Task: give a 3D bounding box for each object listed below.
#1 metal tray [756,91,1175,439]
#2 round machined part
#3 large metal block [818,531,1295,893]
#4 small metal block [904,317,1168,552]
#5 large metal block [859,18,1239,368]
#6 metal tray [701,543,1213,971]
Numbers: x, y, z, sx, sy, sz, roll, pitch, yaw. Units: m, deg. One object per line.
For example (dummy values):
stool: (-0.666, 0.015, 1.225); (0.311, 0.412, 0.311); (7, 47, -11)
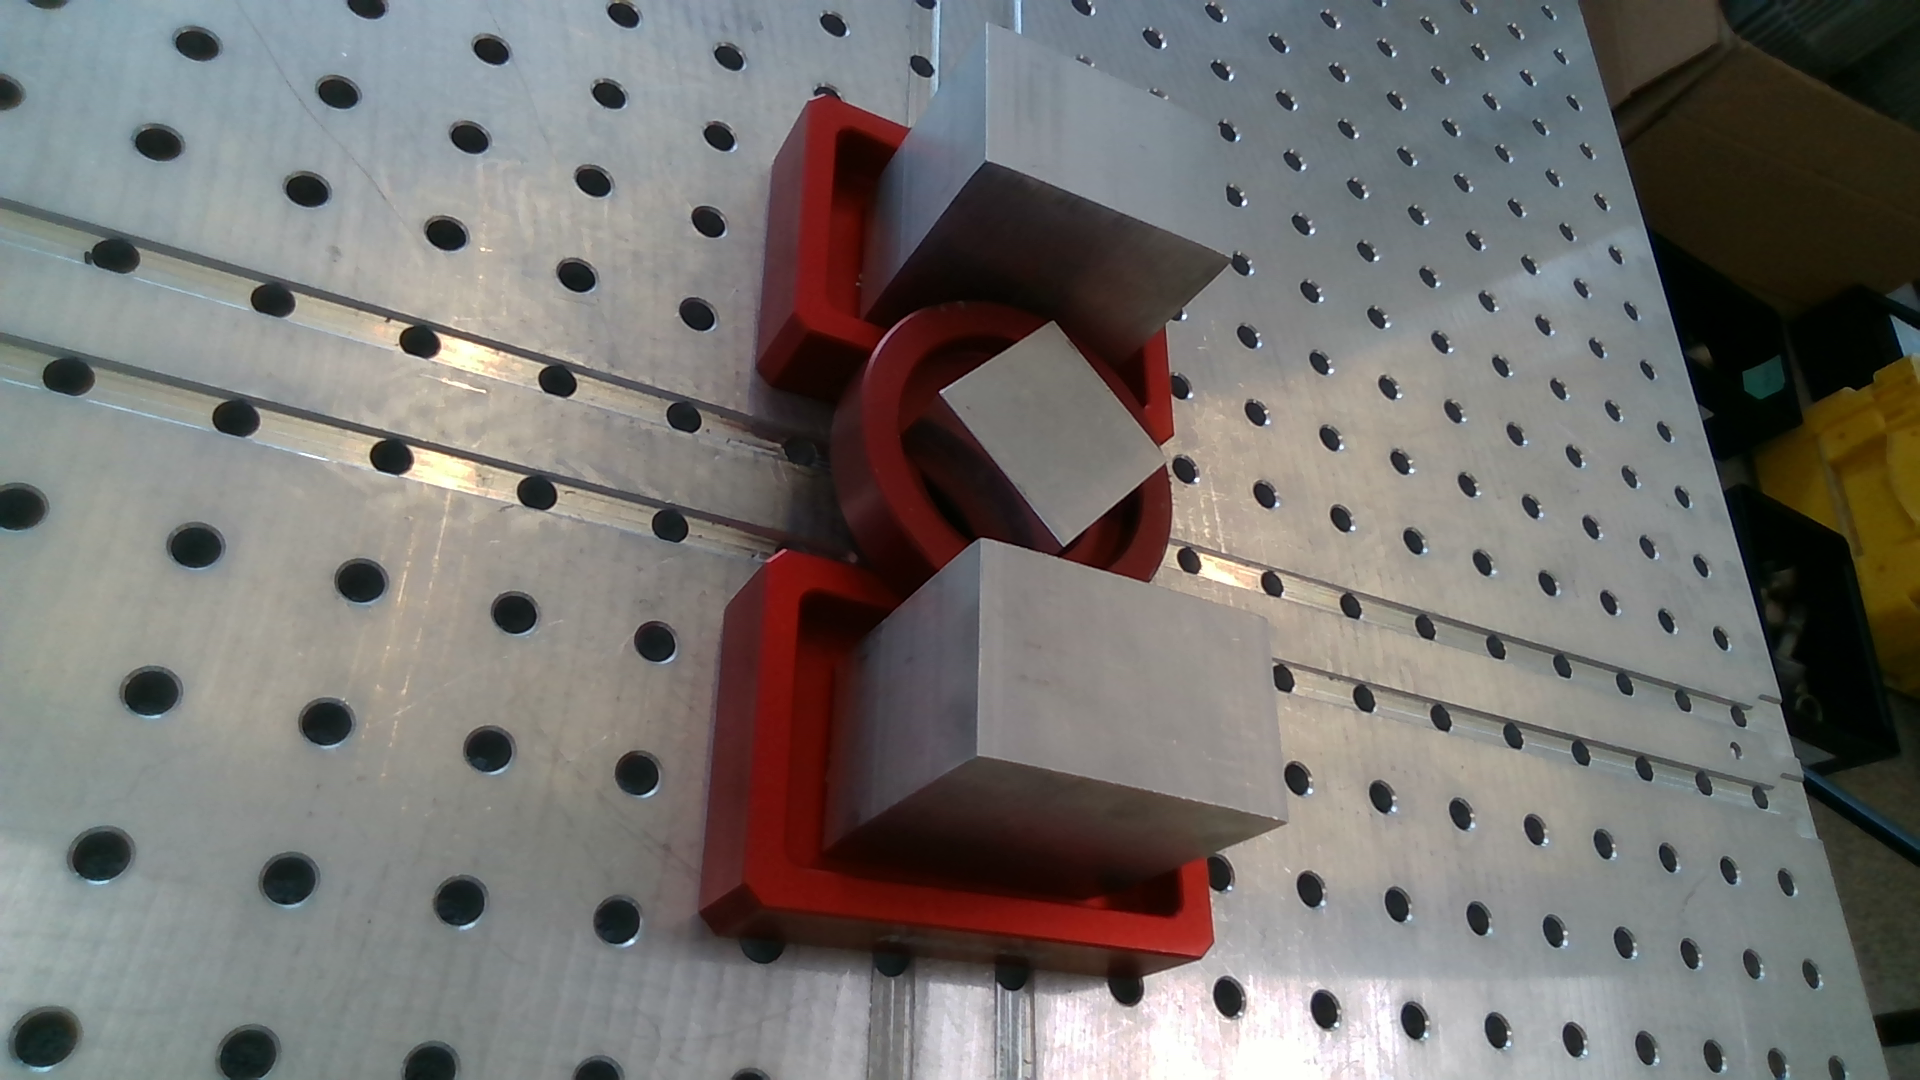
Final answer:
metal tray: (0.004, -0.078, 0.437); (0.130, 0.030, 0.090); (15, 58, -25)
round machined part: (0.008, -0.015, 0.387); (0.098, 0.042, 0.098); (14, 59, -25)
large metal block: (0.020, 0.046, 0.331); (0.080, 0.080, 0.050); (16, 58, -24)
small metal block: (0.020, -0.024, 0.369); (0.050, 0.025, 0.050); (51, 51, 2)
large metal block: (0.023, -0.093, 0.408); (0.080, 0.080, 0.050); (15, 58, -24)
metal tray: (0.002, 0.060, 0.361); (0.130, 0.030, 0.090); (14, 59, -25)
